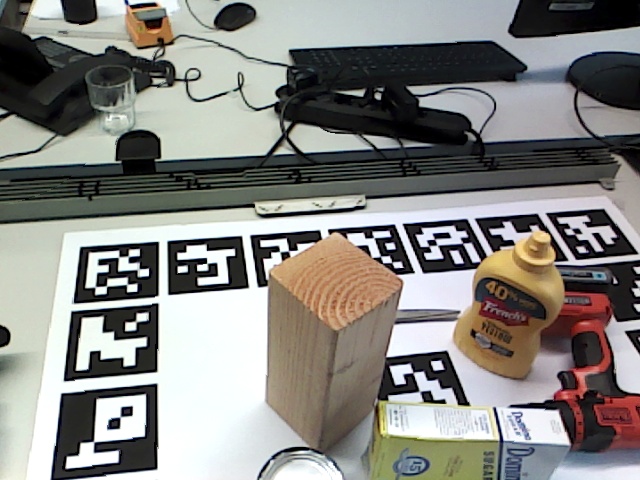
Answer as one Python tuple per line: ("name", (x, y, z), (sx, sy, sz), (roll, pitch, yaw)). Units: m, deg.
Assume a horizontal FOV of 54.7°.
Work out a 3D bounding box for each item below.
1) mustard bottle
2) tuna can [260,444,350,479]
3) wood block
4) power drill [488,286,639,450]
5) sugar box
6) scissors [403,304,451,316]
("mustard bottle", (0.217, 0.068, 0.685), (0.097, 0.191, 0.058), (32, 51, 24))
("tuna can", (-0.015, 0.240, 0.585), (0.085, 0.033, 0.086), (3, 45, -3))
("wood block", (0.010, 0.109, 0.616), (0.090, 0.206, 0.090), (-28, 54, -29))
("power drill", (0.270, 0.141, 0.698), (0.184, 0.057, 0.187), (4, 51, 0))
("sugar box", (0.148, 0.203, 0.602), (0.176, 0.092, 0.045), (5, 41, -3))
("scissors", (0.065, 0.093, 0.758), (0.202, 0.016, 0.088), (-4, 41, -8))
